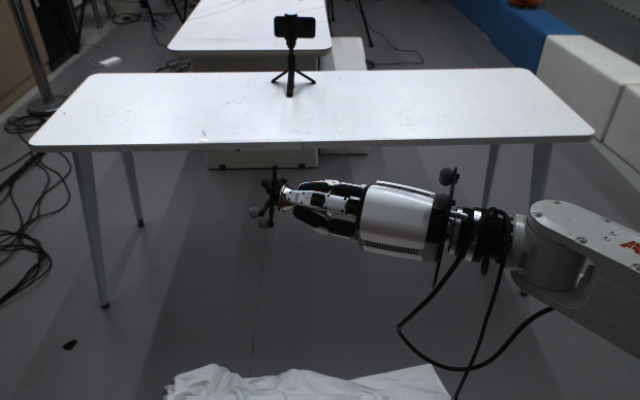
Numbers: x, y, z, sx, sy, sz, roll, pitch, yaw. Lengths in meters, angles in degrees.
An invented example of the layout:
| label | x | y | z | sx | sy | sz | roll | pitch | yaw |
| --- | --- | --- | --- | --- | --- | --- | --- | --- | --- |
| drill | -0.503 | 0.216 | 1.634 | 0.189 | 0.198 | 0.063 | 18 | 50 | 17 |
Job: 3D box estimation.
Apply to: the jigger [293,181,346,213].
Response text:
| label | x | y | z | sx | sy | sz | roll | pitch | yaw |
| --- | --- | --- | --- | --- | --- | --- | --- | --- | --- |
| jigger | -0.011 | -0.003 | 0.661 | 0.071 | 0.043 | 0.043 | 8 | 35 | 16 |
